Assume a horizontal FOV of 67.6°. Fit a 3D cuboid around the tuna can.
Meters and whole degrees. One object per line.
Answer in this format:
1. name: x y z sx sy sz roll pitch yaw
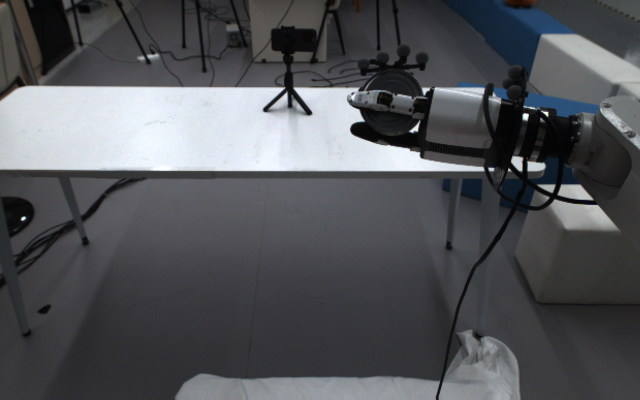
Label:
1. tuna can: 0.097 -0.132 0.656 0.085 0.085 0.034 16 1 19
